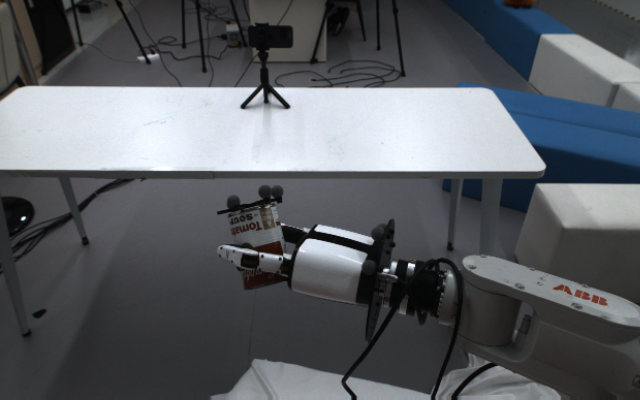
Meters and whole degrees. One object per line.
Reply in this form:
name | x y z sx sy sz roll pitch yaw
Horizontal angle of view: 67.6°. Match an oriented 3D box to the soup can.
soup can | -0.078 0.062 0.644 0.067 0.101 0.067 -14 -2 -1
